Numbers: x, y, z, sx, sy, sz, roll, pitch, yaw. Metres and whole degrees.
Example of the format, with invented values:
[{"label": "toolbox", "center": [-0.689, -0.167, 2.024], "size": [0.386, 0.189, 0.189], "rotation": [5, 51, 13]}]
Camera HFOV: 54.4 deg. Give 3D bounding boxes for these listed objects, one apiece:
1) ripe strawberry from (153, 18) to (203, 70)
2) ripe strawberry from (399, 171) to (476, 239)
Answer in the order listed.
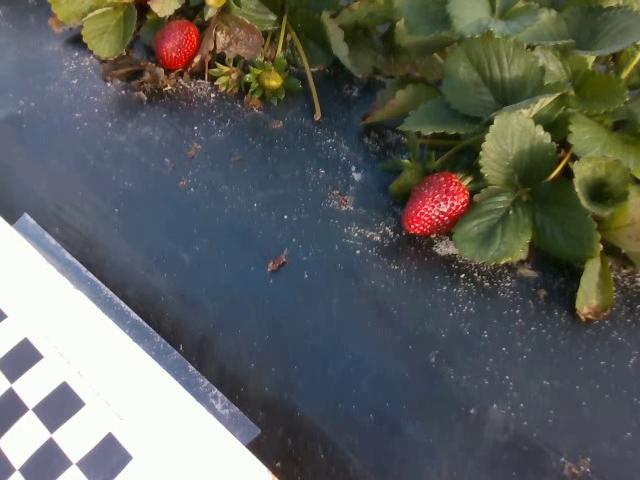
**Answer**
[{"label": "ripe strawberry", "center": [-0.080, -0.104, 0.333], "size": [0.031, 0.026, 0.030], "rotation": [-1, 32, 9]}, {"label": "ripe strawberry", "center": [0.043, -0.014, 0.246], "size": [0.029, 0.021, 0.036], "rotation": [31, 56, 35]}]
